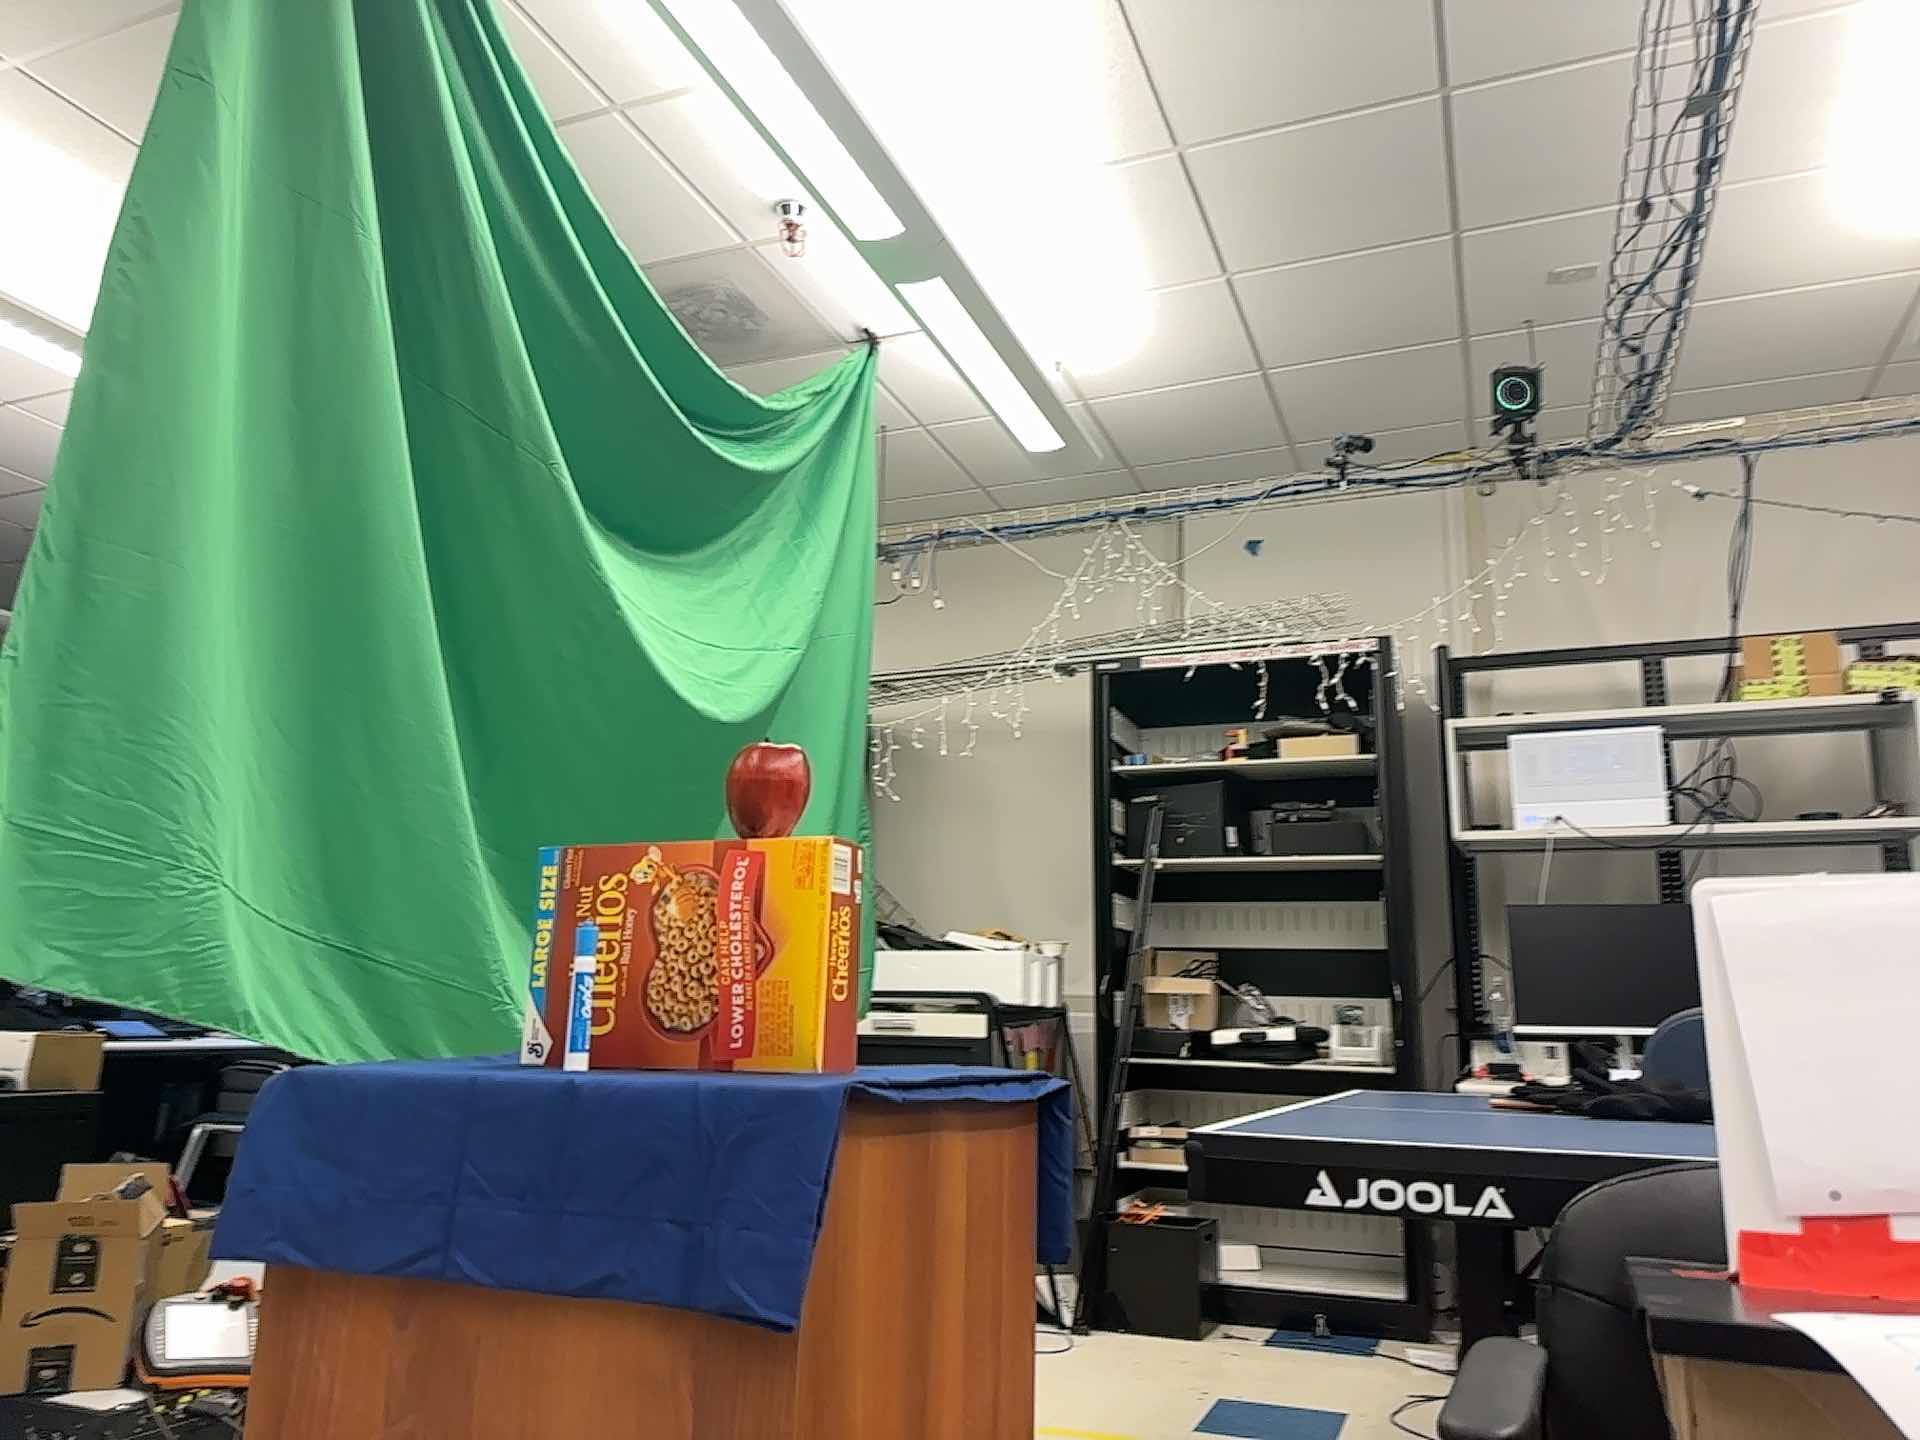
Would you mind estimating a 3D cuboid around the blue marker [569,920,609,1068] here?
[{"bbox_3d":[-0.311,0.228,1.127,0.020,0.121,0.020,3,-15,1],"label":"blue marker"}]

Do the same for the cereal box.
[{"bbox_3d":[-0.239,0.209,1.203,0.297,0.195,0.065,-2,-16,21],"label":"cereal box"}]

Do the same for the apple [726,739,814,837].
[{"bbox_3d":[-0.172,0.063,1.213,0.079,0.093,0.079,3,-12,1],"label":"apple"}]
